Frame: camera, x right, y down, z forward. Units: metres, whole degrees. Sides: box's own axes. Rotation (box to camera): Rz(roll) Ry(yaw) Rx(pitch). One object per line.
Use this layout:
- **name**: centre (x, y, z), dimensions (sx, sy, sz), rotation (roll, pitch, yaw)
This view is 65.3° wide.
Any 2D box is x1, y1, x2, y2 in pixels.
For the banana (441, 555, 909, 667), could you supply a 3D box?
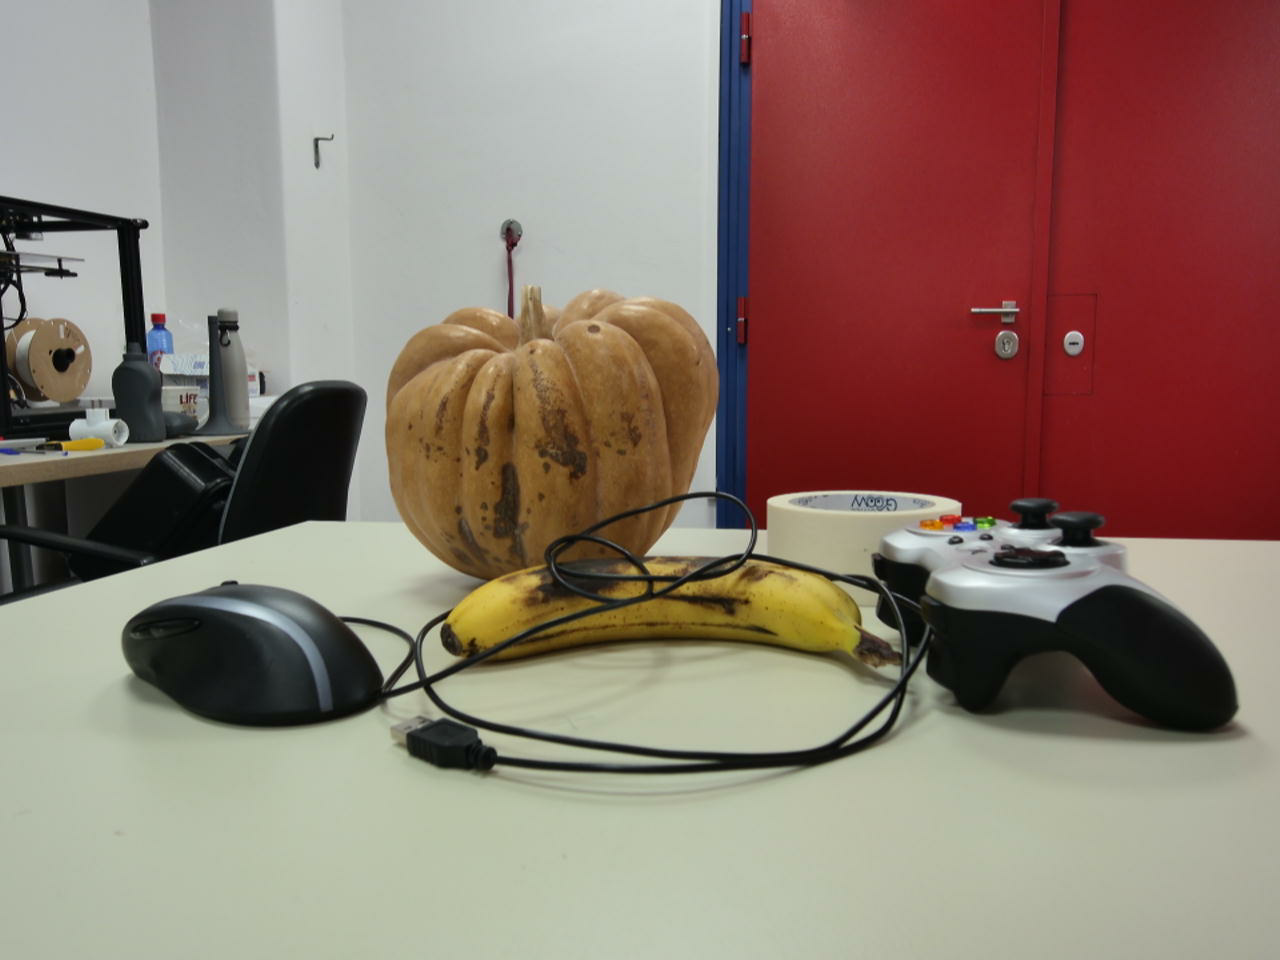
- **banana**: centre (0.016, 0.057, 0.437), dimensions (0.187, 0.039, 0.094), rotation (1, 4, 10)
